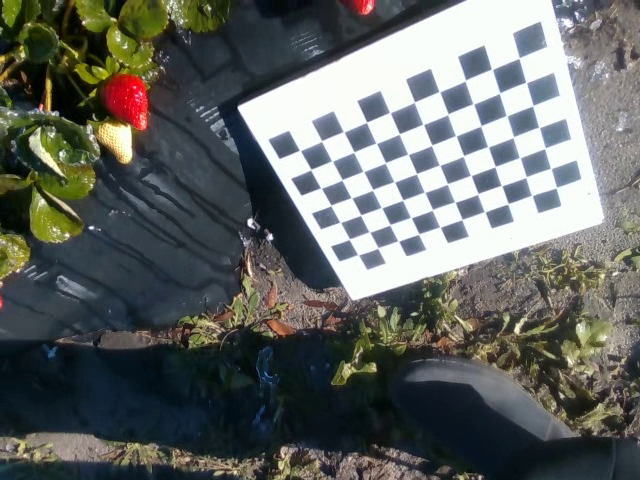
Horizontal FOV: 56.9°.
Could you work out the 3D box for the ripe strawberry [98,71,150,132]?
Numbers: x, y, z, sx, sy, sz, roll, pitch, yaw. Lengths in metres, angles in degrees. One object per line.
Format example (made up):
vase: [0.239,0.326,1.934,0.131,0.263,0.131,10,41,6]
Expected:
ripe strawberry: [-0.174,-0.125,0.549,0.042,0.061,0.046,-33,-13,25]
